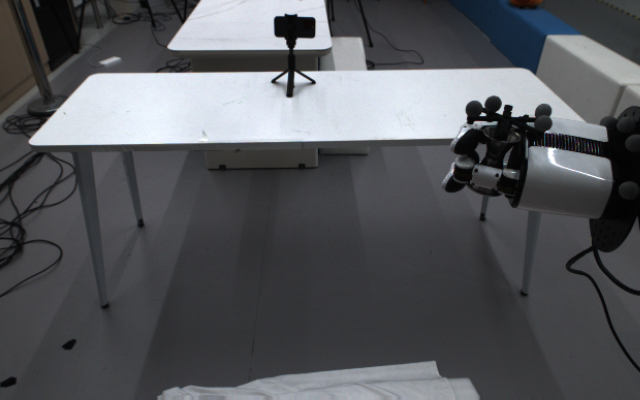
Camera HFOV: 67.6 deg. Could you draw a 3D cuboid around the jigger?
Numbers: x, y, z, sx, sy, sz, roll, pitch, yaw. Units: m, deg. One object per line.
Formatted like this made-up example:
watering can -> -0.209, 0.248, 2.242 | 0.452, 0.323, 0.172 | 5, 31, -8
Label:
jigger -> 0.201, -0.045, 0.557 | 0.043, 0.071, 0.043 | 4, 31, -2
